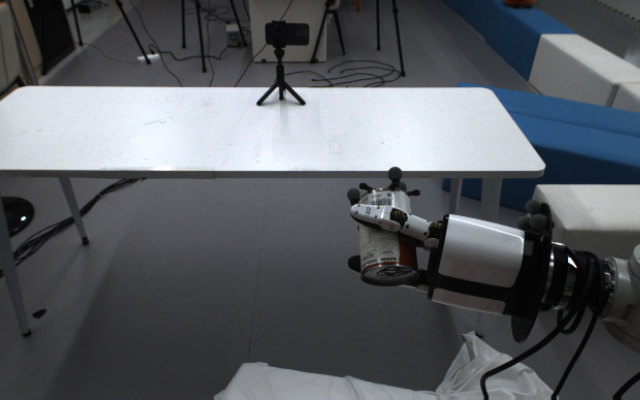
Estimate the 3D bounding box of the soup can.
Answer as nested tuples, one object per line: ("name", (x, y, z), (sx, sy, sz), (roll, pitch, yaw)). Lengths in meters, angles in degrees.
("soup can", (0.084, 0.045, 0.586), (0.067, 0.067, 0.101), (0, 63, -3))
